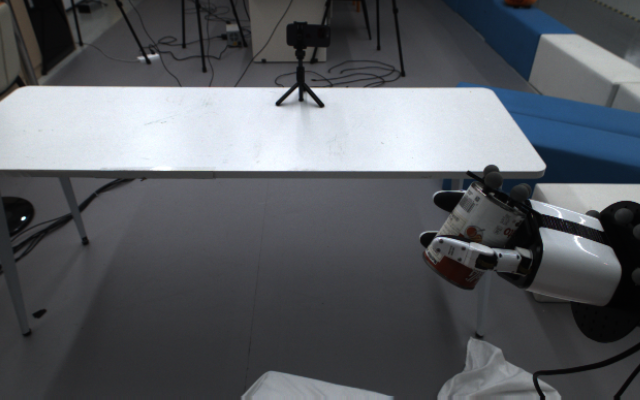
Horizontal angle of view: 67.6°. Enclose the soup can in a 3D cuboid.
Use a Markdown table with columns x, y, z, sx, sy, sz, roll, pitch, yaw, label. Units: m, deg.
| x | y | z | sx | sy | sz | roll | pitch | yaw | label |
| --- | --- | --- | --- | --- | --- | --- | --- | --- | --- |
| 0.171 | 0.039 | 0.535 | 0.067 | 0.101 | 0.067 | 27 | 18 | -9 | soup can |
